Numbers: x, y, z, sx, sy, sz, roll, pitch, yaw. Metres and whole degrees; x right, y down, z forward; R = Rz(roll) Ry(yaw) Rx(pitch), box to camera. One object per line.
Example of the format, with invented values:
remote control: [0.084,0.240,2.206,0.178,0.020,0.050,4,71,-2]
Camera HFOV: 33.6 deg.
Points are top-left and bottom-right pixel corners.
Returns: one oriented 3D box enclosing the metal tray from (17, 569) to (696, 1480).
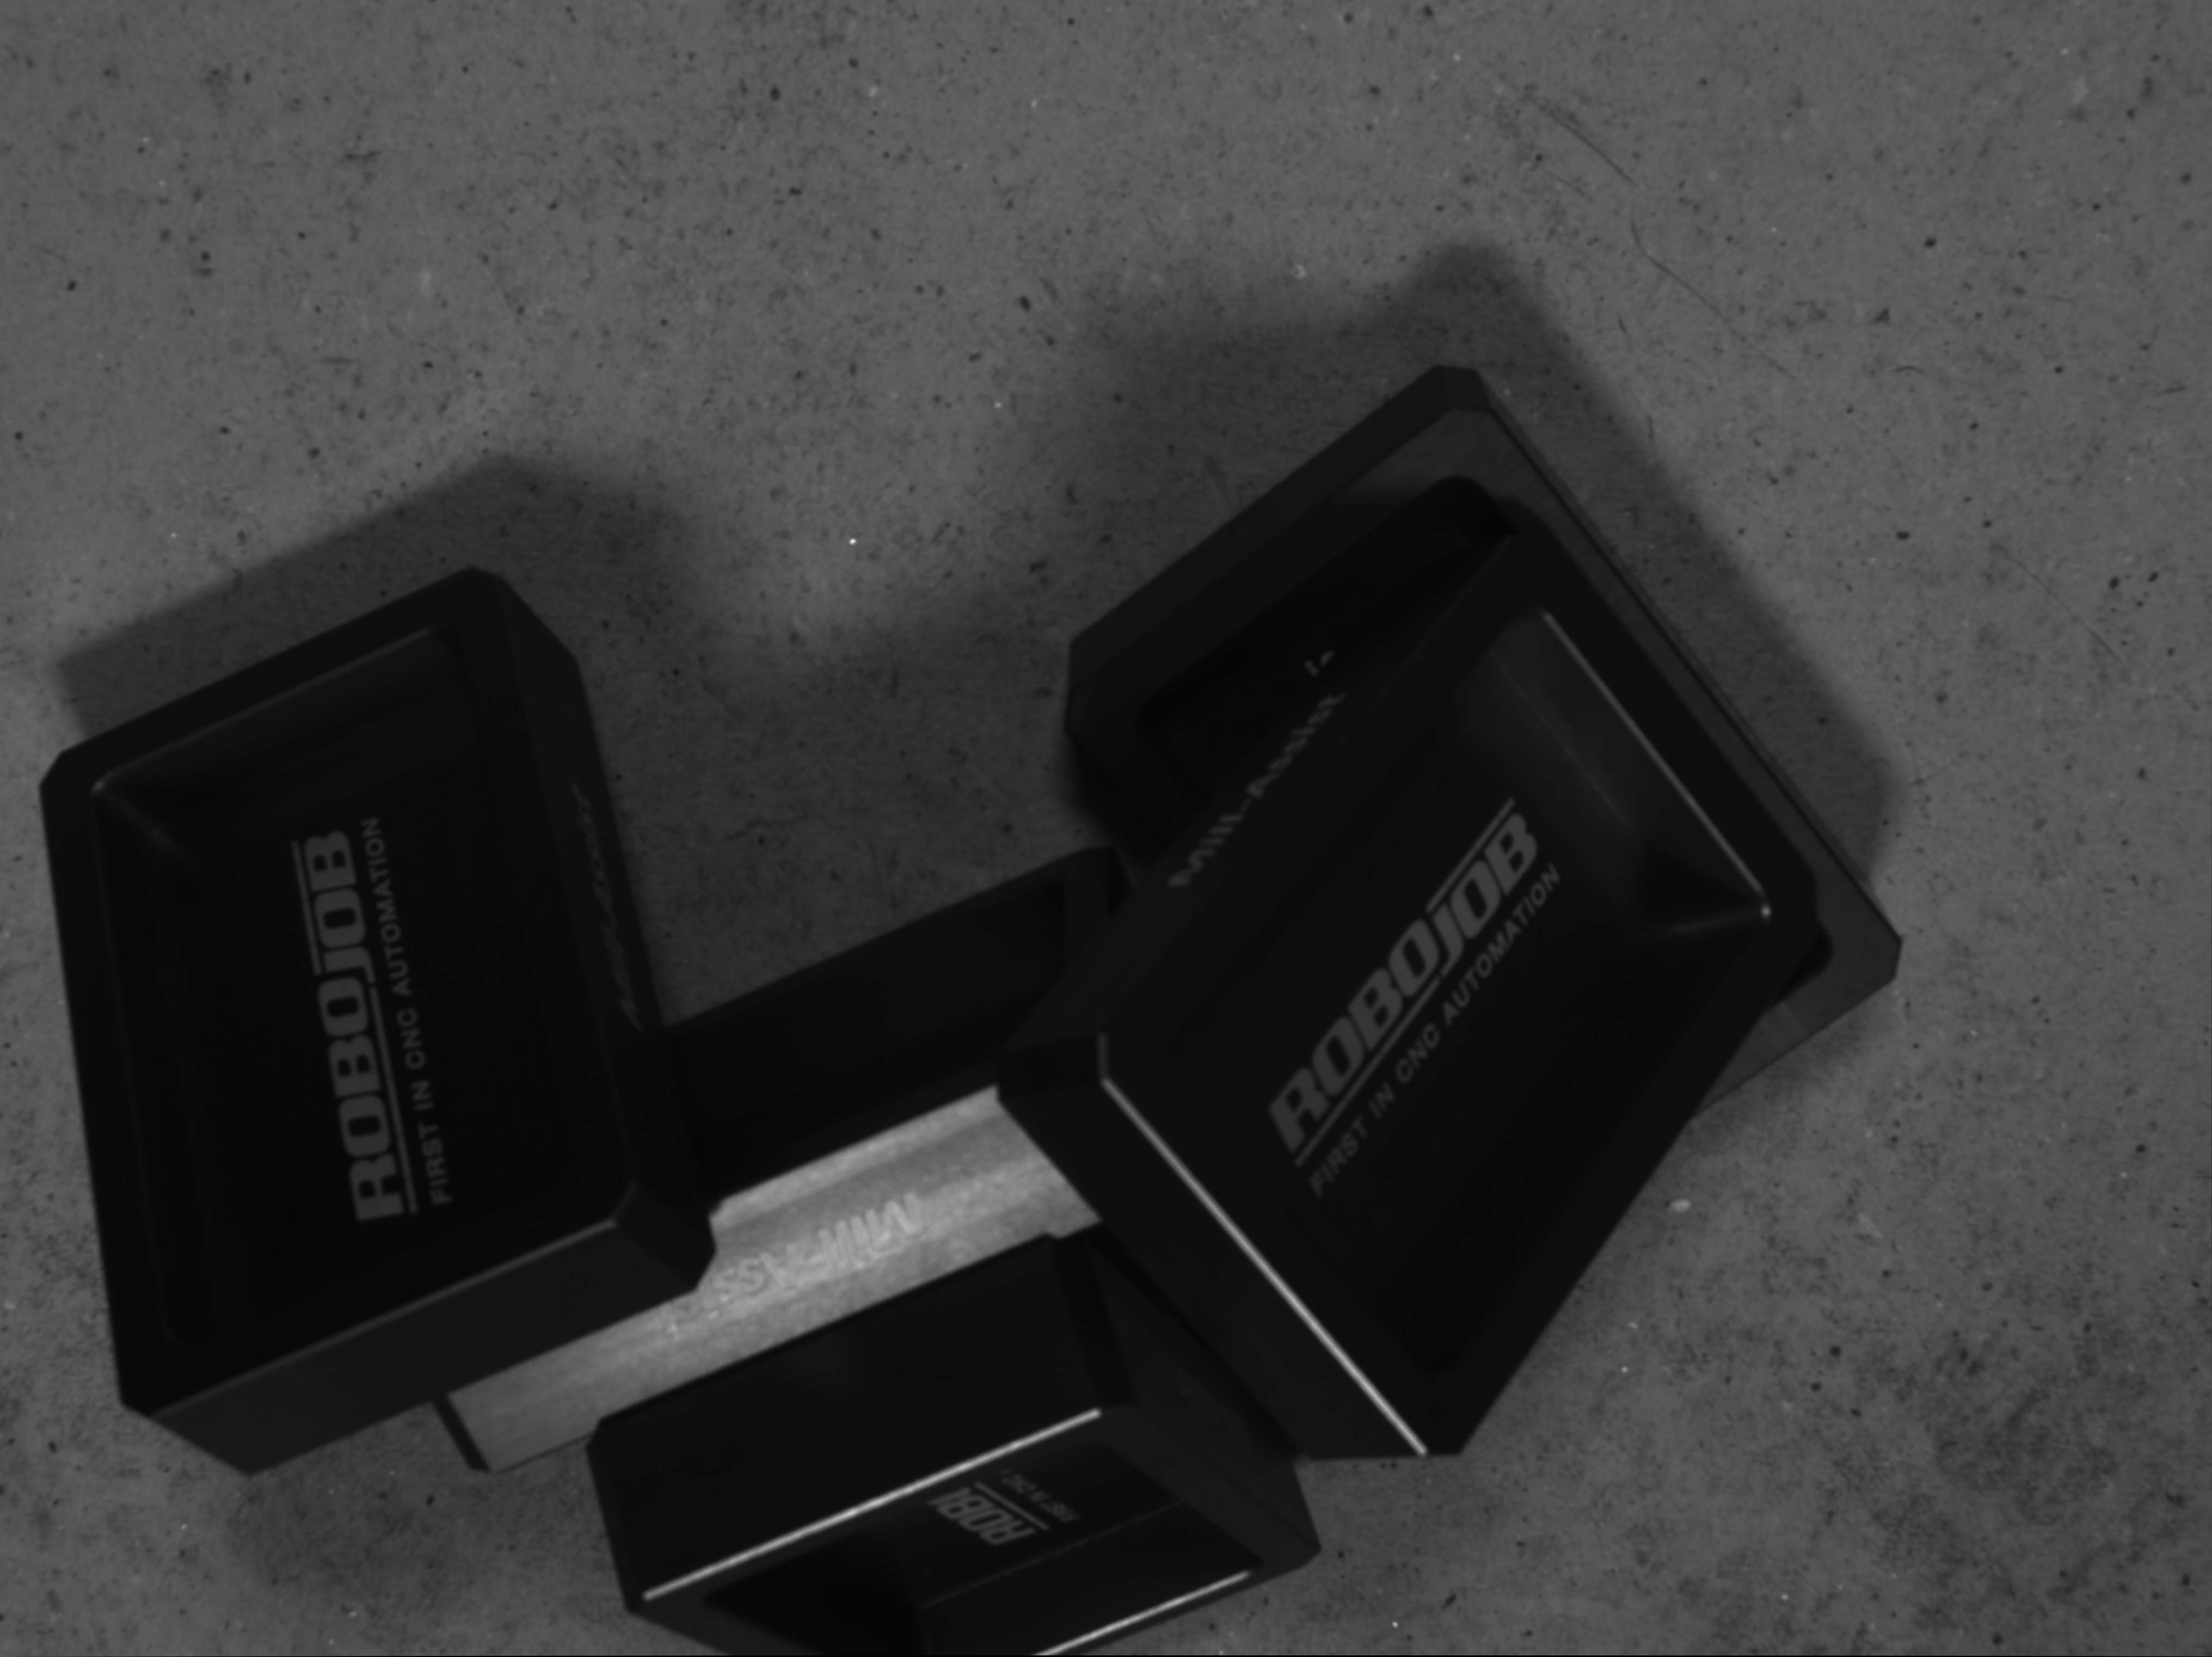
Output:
metal tray: [-0.126,0.030,0.602,0.090,0.130,0.030,-23,147,8]

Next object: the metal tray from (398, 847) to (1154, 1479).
metal tray: [-0.055,0.055,0.628,0.130,0.090,0.030,-24,108,8]

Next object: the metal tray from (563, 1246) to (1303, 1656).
metal tray: [-0.026,0.118,0.639,0.090,0.030,0.130,-23,153,8]

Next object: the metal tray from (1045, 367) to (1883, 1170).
metal tray: [0.062,-0.003,0.640,0.090,0.030,0.130,-37,106,12]

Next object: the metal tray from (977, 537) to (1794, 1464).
metal tray: [0.049,0.027,0.594,0.090,0.030,0.130,50,58,-16]
